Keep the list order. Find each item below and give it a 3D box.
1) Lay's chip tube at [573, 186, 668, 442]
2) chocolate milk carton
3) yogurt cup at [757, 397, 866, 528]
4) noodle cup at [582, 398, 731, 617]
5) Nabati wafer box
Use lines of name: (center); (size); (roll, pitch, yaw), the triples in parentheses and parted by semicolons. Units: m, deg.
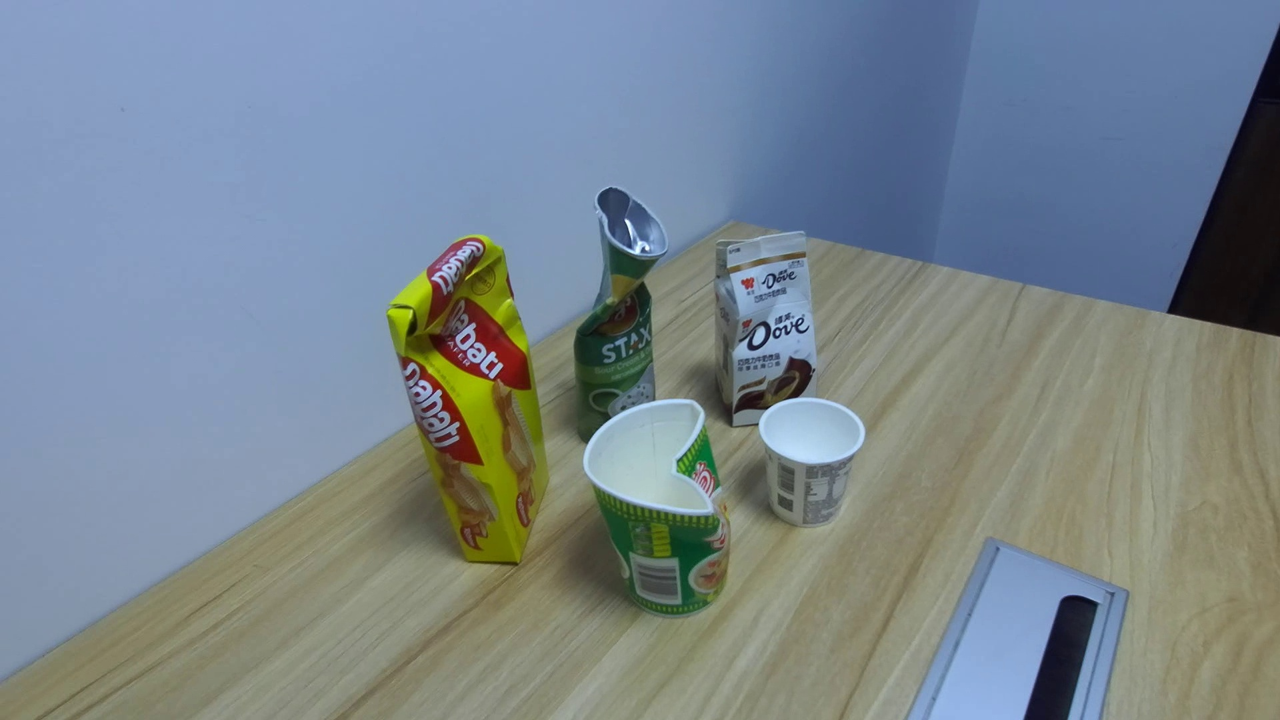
Lay's chip tube: (-0.014, -0.022, 0.542); (0.071, 0.199, 0.079); (16, 38, 16)
chocolate milk carton: (0.105, -0.030, 0.577); (0.084, 0.155, 0.073); (-6, 34, -3)
yogurt cup: (0.118, 0.075, 0.495); (0.072, 0.068, 0.072); (-3, 32, 2)
noodle cup: (0.017, 0.094, 0.435); (0.086, 0.109, 0.094); (10, 37, 20)
Nabati wafer box: (-0.103, 0.031, 0.464); (0.042, 0.205, 0.113); (0, 34, 11)
